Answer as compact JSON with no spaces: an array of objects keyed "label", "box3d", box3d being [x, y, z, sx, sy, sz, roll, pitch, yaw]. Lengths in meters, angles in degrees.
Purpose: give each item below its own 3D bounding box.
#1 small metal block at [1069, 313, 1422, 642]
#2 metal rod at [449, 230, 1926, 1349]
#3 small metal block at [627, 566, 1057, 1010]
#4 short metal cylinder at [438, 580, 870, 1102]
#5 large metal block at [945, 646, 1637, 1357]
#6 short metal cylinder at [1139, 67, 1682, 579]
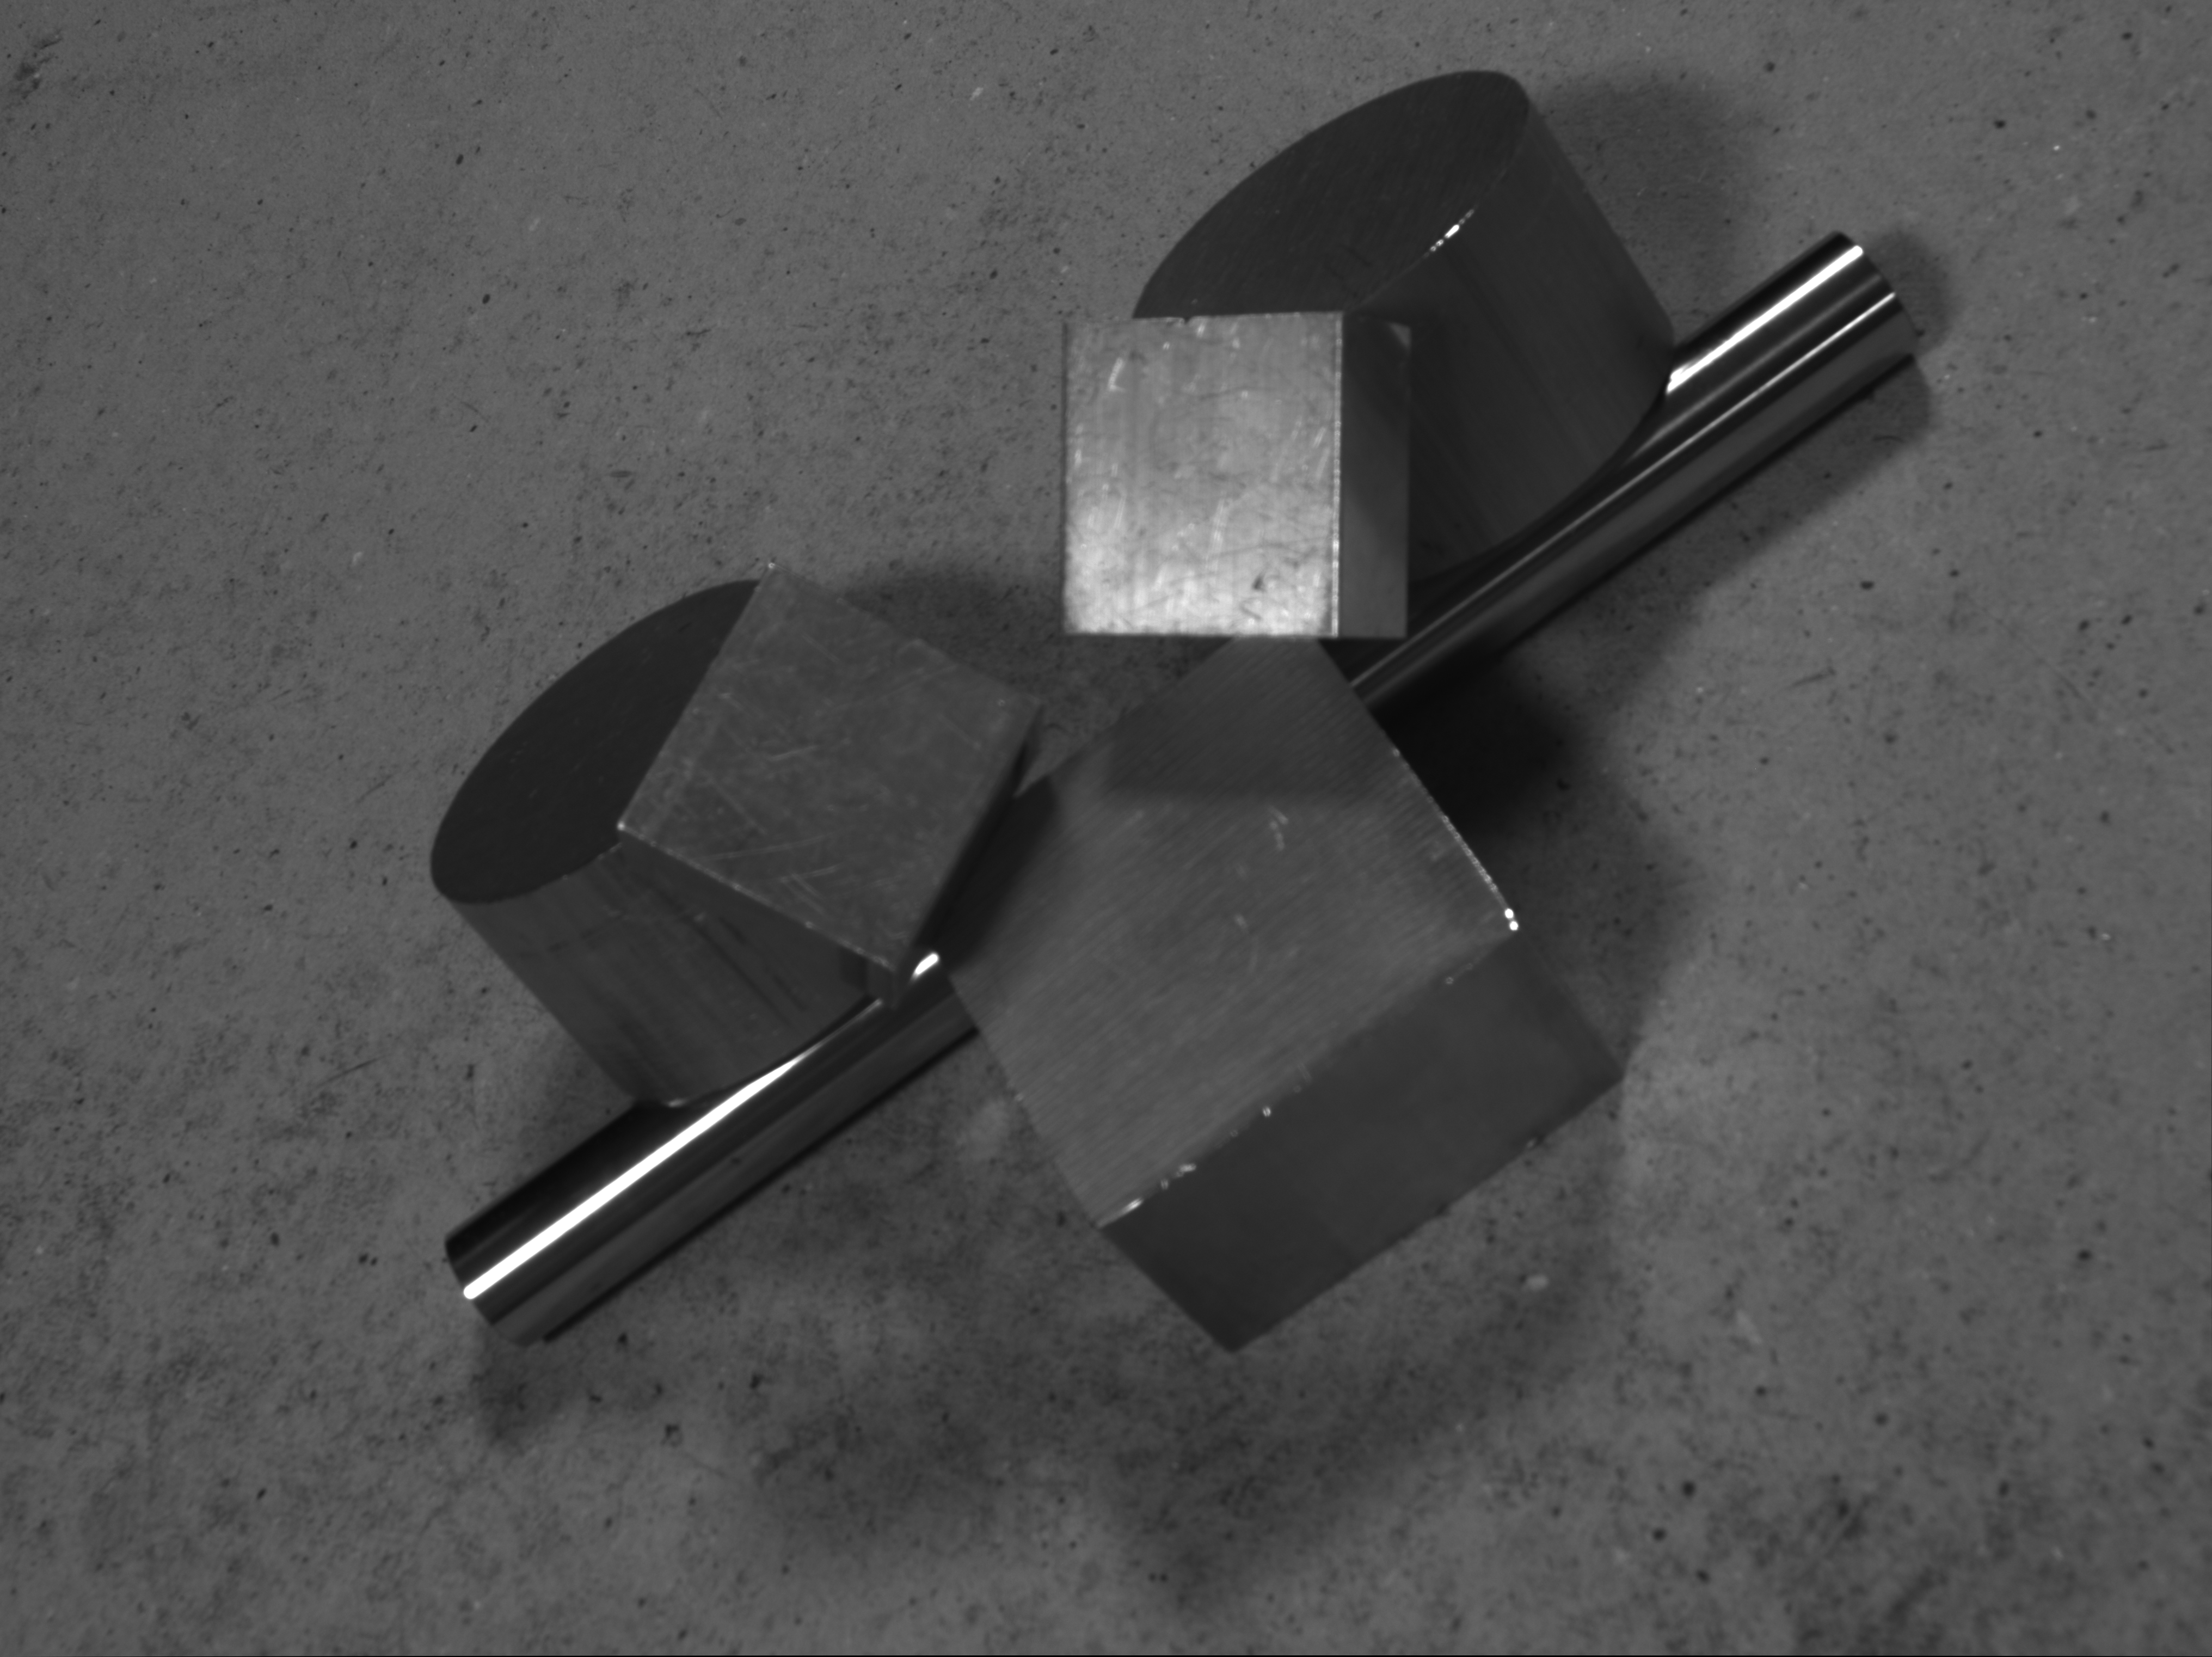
[{"label":"small metal block","box3d":[0.022,-0.055,0.586,0.050,0.025,0.050,2,93,29]},{"label":"metal rod","box3d":[0.012,-0.005,0.641,0.300,0.025,0.025,-36,51,4]},{"label":"small metal block","box3d":[-0.042,-0.006,0.591,0.050,0.025,0.050,27,74,4]},{"label":"short metal cylinder","box3d":[-0.070,0.002,0.647,0.080,0.050,0.080,-29,28,17]},{"label":"large metal block","box3d":[0.026,0.024,0.597,0.080,0.050,0.080,-36,51,4]},{"label":"short metal cylinder","box3d":[0.052,-0.086,0.634,0.080,0.050,0.080,-29,28,17]}]
